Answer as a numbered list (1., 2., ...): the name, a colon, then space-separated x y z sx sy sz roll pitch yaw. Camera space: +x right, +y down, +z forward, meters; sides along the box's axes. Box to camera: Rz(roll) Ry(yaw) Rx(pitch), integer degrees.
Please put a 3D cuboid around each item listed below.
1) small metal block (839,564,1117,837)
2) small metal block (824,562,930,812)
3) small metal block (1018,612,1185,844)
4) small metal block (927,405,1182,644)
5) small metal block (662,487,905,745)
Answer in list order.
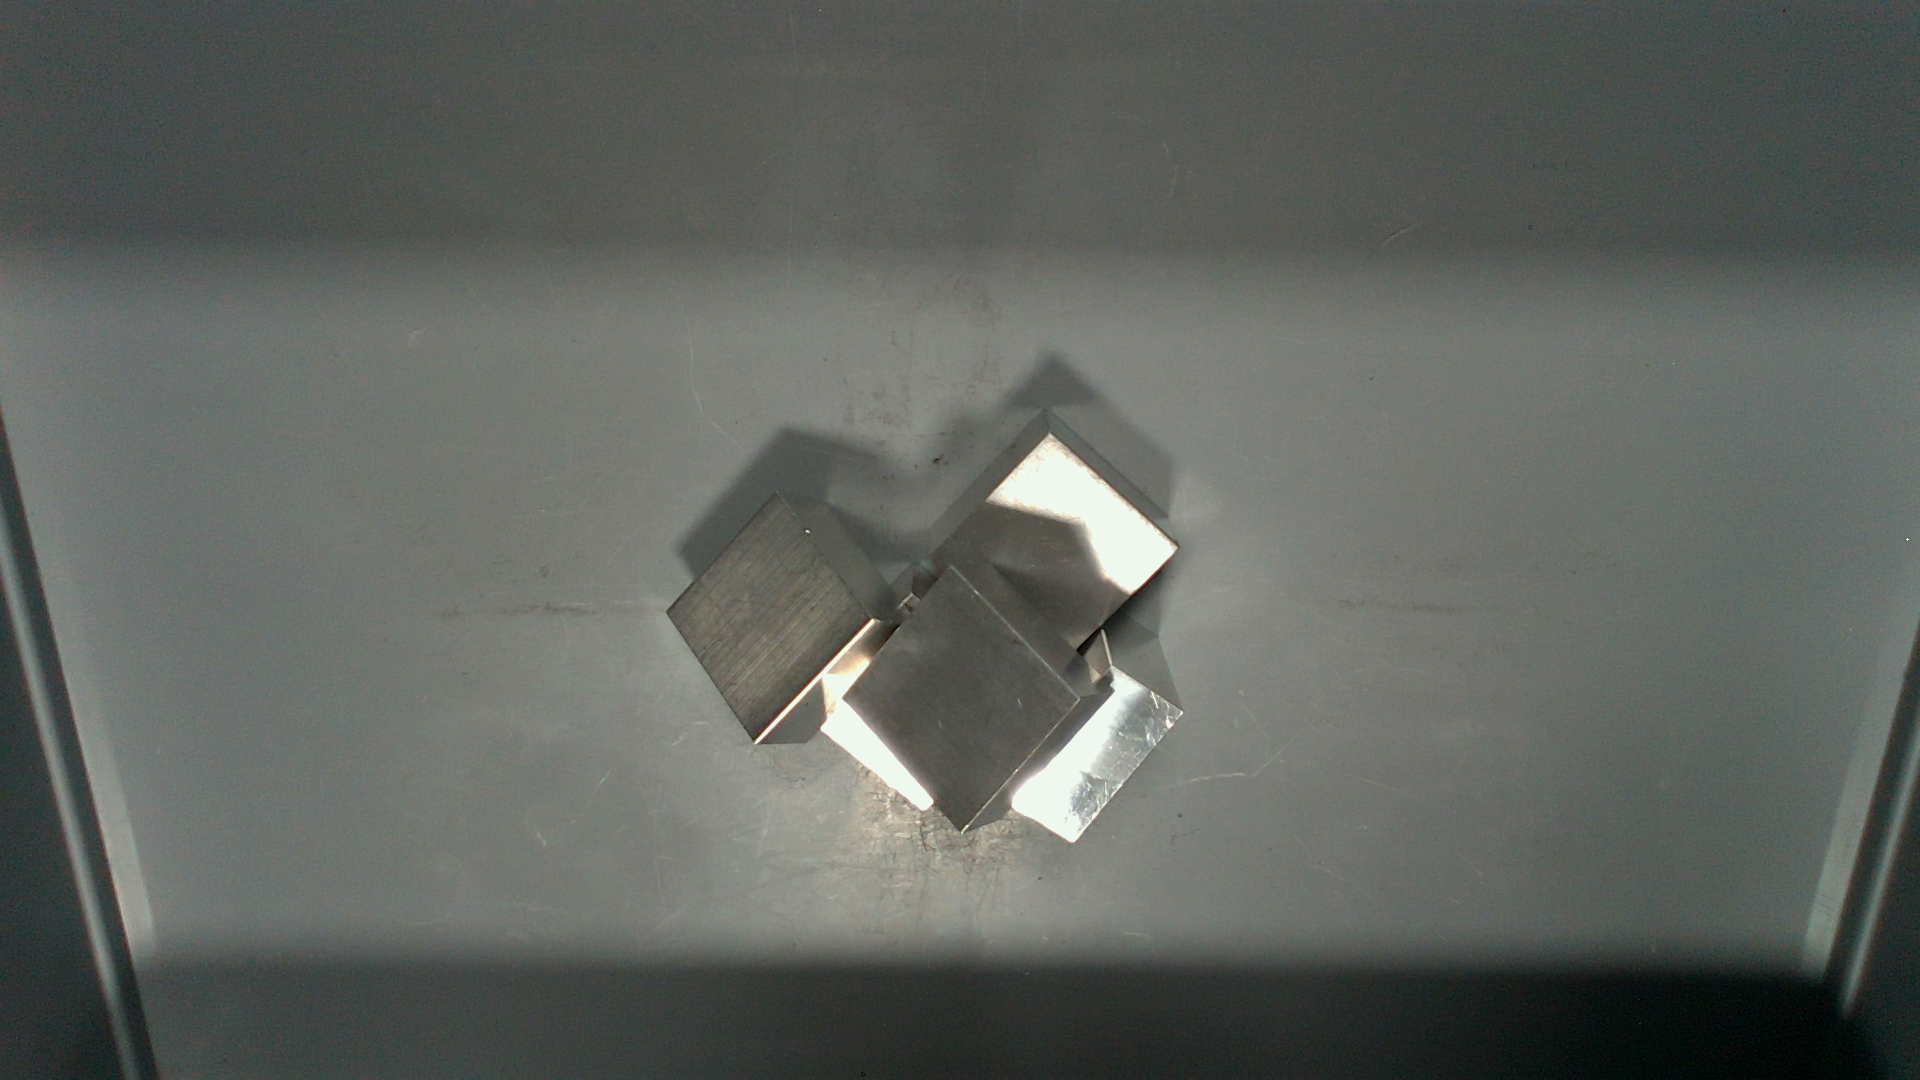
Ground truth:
1. small metal block: 0.004 0.042 0.368 0.050 0.025 0.050 45 107 20
2. small metal block: -0.012 0.044 0.409 0.050 0.025 0.050 40 105 -14
3. small metal block: 0.036 0.050 0.398 0.025 0.050 0.050 33 107 -11
4. small metal block: 0.026 -0.001 0.392 0.050 0.025 0.050 40 105 -14
5. small metal block: -0.048 0.022 0.387 0.050 0.025 0.050 -46 65 15
